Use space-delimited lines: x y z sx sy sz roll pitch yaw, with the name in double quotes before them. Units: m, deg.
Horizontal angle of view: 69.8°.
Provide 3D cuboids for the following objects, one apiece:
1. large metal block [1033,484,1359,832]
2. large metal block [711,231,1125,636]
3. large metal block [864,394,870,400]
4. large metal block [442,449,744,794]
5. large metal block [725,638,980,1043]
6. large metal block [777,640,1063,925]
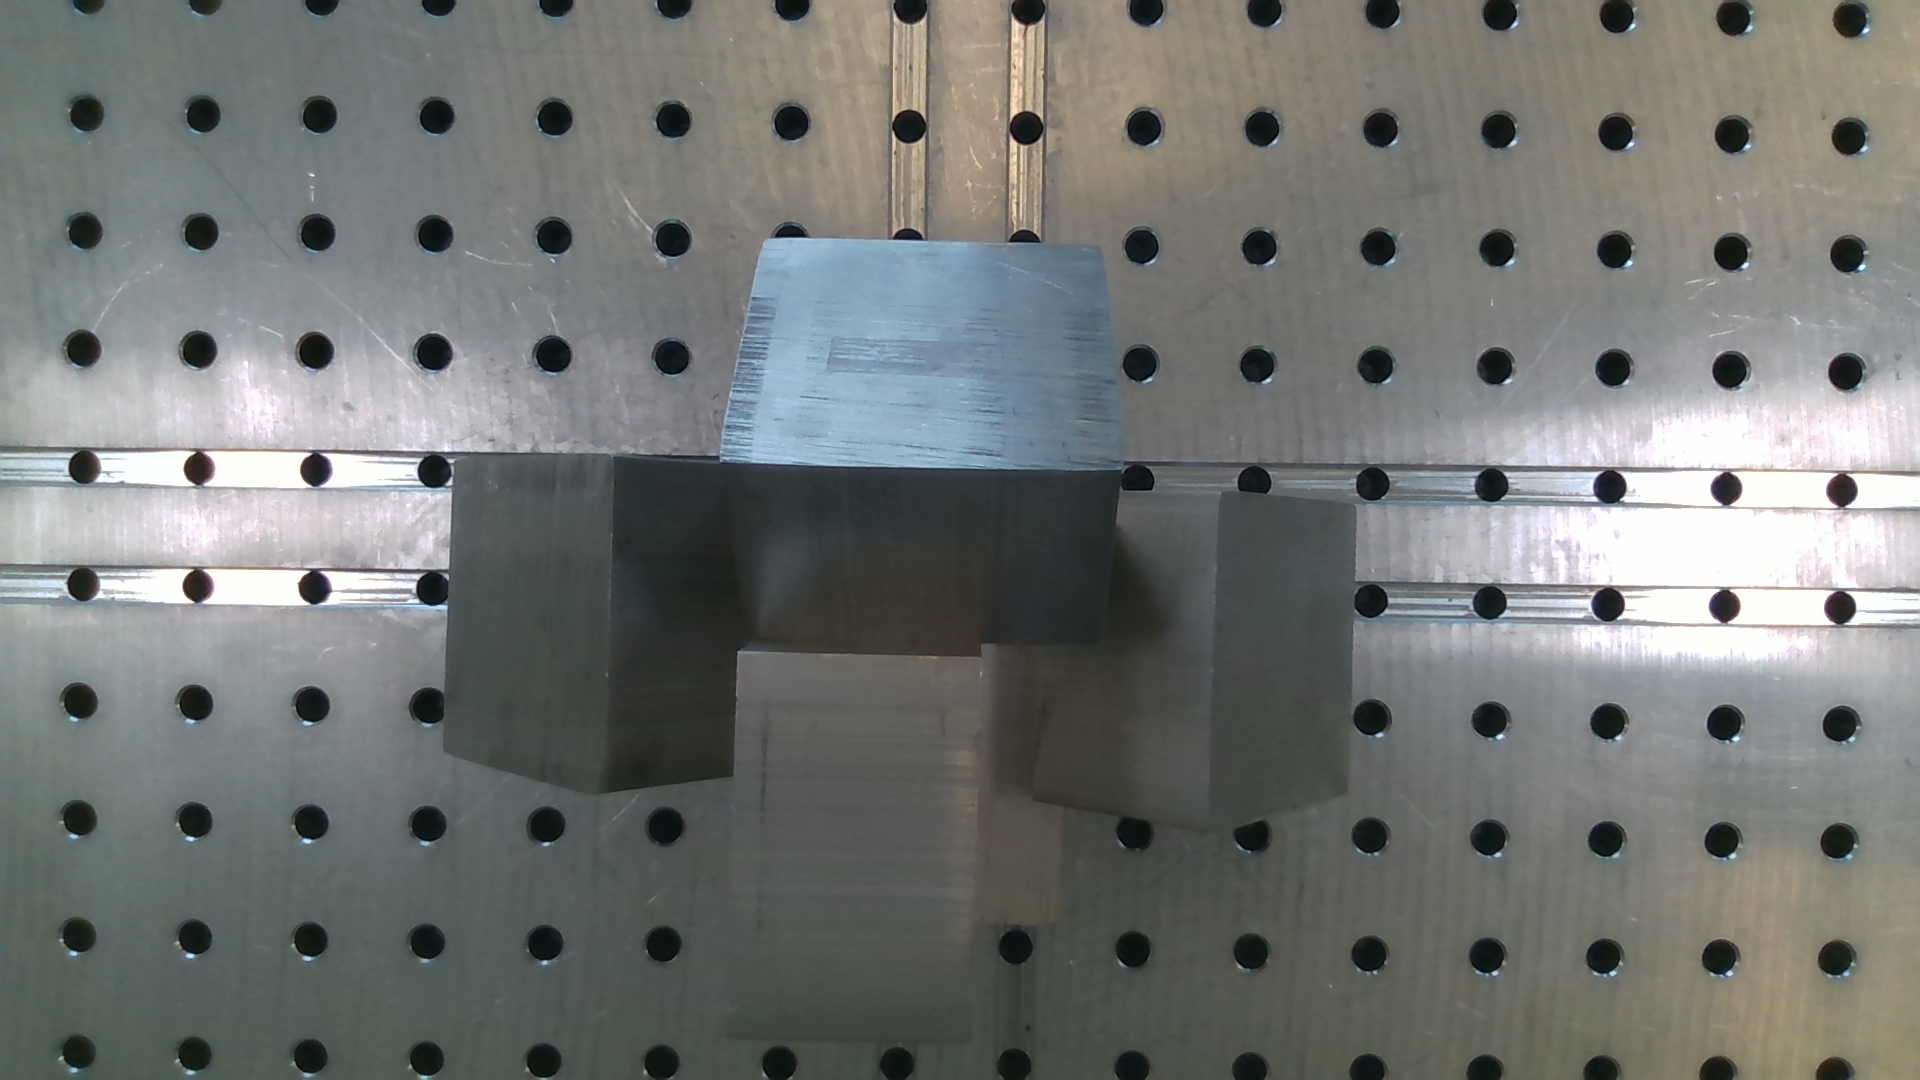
"large metal block" 0.064 0.028 0.363 0.050 0.080 0.080 2 90 38
"large metal block" -0.008 -0.026 0.312 0.080 0.050 0.080 1 45 0
"large metal block" -0.008 -0.026 0.385 0.080 0.050 0.080 7 90 0
"large metal block" -0.093 0.019 0.364 0.080 0.050 0.080 2 90 44
"large metal block" -0.022 0.062 0.320 0.050 0.080 0.080 2 90 0
"large metal block" -0.013 0.059 0.385 0.080 0.050 0.080 3 90 0
